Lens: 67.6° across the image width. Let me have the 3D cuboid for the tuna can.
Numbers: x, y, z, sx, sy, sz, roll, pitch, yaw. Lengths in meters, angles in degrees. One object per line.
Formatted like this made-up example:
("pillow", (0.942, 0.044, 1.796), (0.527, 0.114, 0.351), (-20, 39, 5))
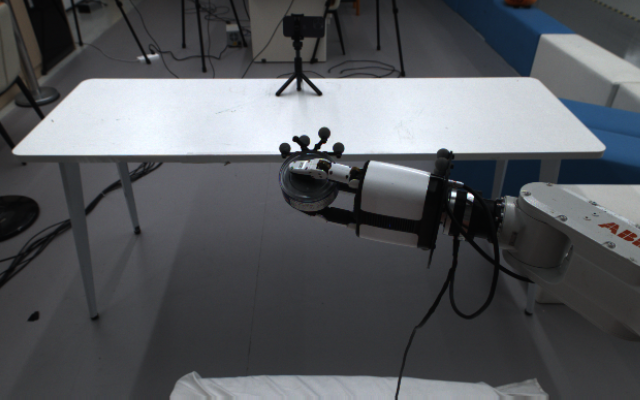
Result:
("tuna can", (-0.013, -0.023, 0.683), (0.085, 0.034, 0.085), (-1, 58, 2))
